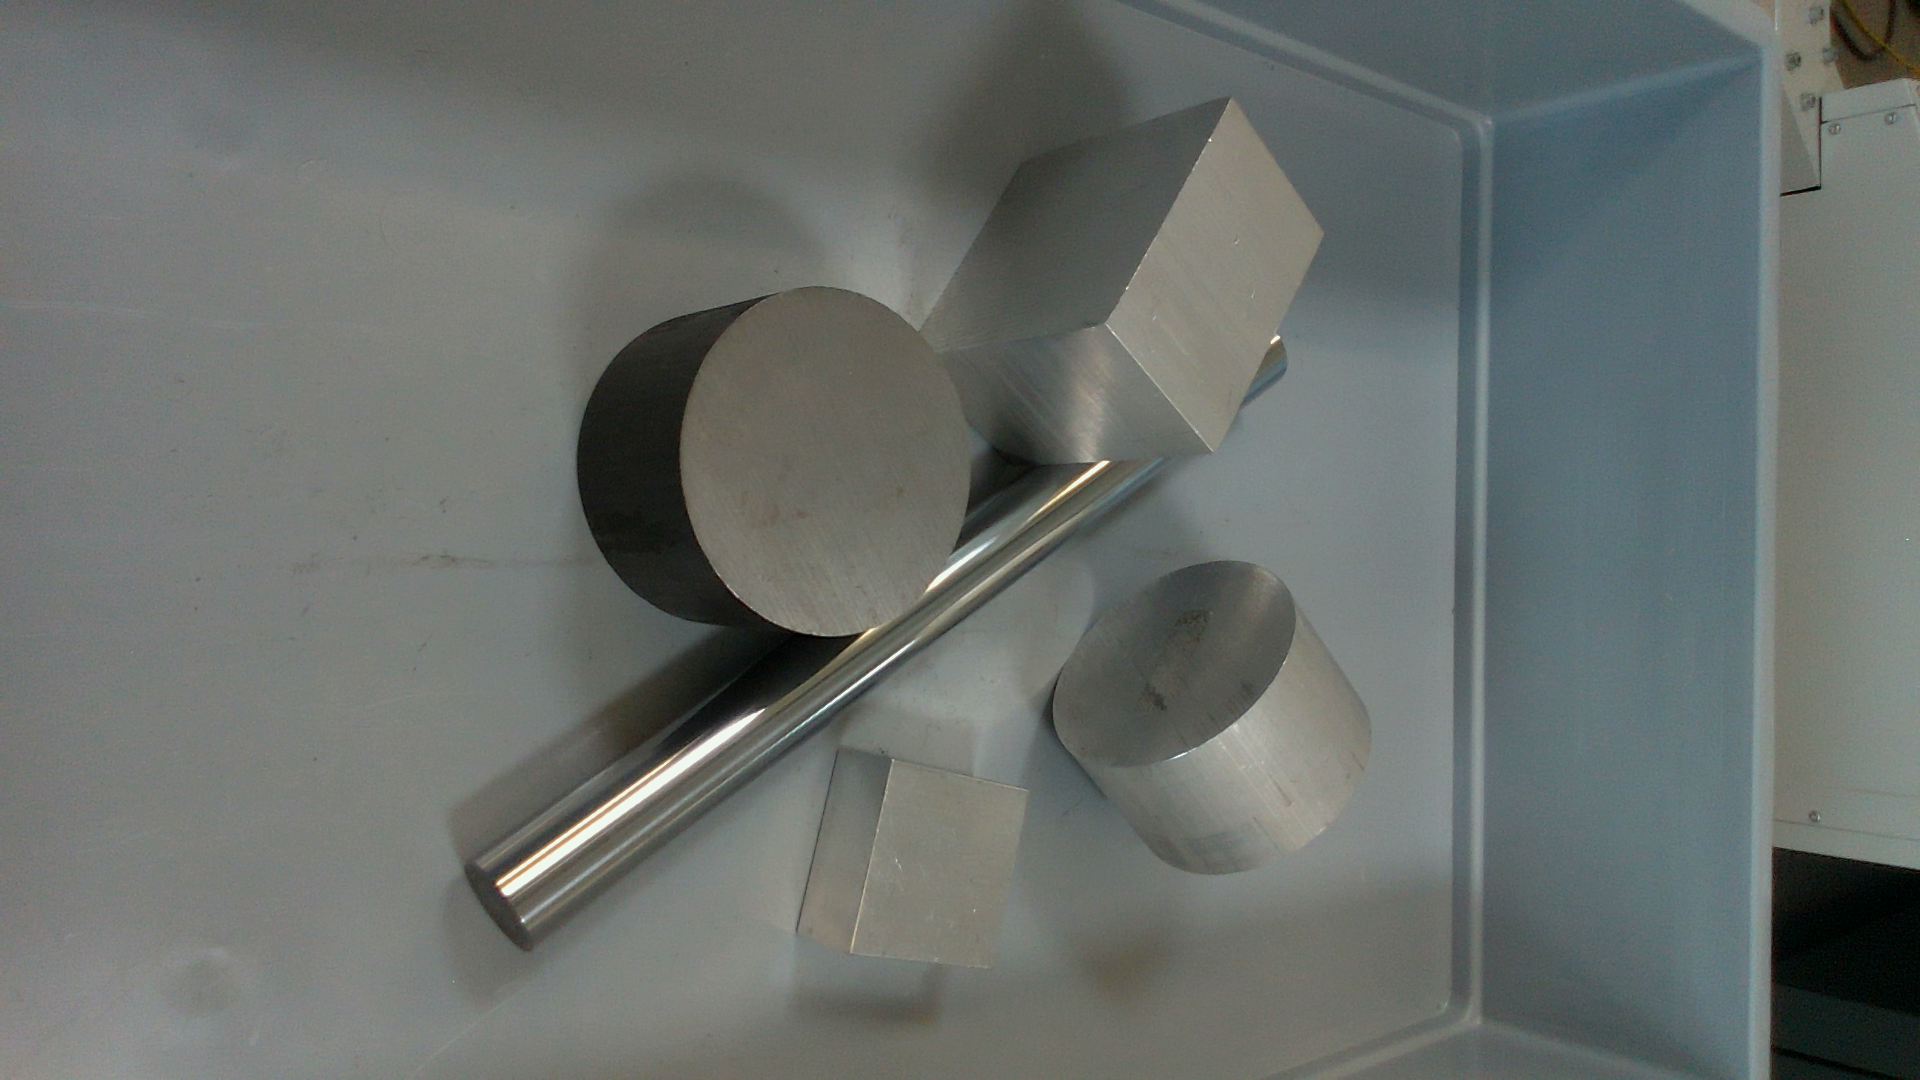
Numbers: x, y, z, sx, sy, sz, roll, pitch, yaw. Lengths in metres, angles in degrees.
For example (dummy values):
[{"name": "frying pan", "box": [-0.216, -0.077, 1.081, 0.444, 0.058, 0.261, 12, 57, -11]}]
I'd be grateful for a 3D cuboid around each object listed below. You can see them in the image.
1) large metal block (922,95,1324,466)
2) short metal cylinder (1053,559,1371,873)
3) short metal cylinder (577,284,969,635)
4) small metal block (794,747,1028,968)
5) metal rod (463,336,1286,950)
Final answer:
[{"name": "large metal block", "box": [0.043, -0.069, 0.388, 0.050, 0.080, 0.080, 44, 64, -31]}, {"name": "short metal cylinder", "box": [0.075, 0.052, 0.415, 0.050, 0.080, 0.080, 51, 60, -28]}, {"name": "short metal cylinder", "box": [-0.044, -0.018, 0.334, 0.080, 0.050, 0.080, 0, 90, -40]}, {"name": "small metal block", "box": [-0.013, 0.087, 0.377, 0.050, 0.025, 0.050, 19, 78, -38]}, {"name": "metal rod", "box": [0.000, 0.008, 0.387, 0.301, 0.025, 0.025, -35, 112, -34]}]
